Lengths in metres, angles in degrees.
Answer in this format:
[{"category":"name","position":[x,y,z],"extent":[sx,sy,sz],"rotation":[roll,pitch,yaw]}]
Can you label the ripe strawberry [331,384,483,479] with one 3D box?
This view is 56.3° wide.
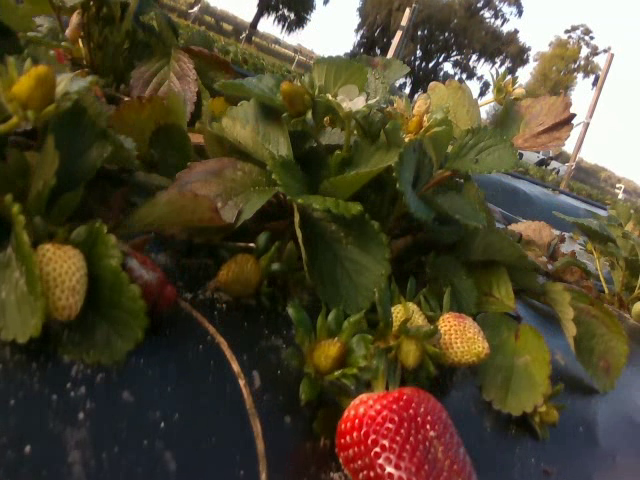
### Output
[{"category":"ripe strawberry","position":[0.039,0.086,0.235],"extent":[0.052,0.045,0.067],"rotation":[15,12,-30]}]
